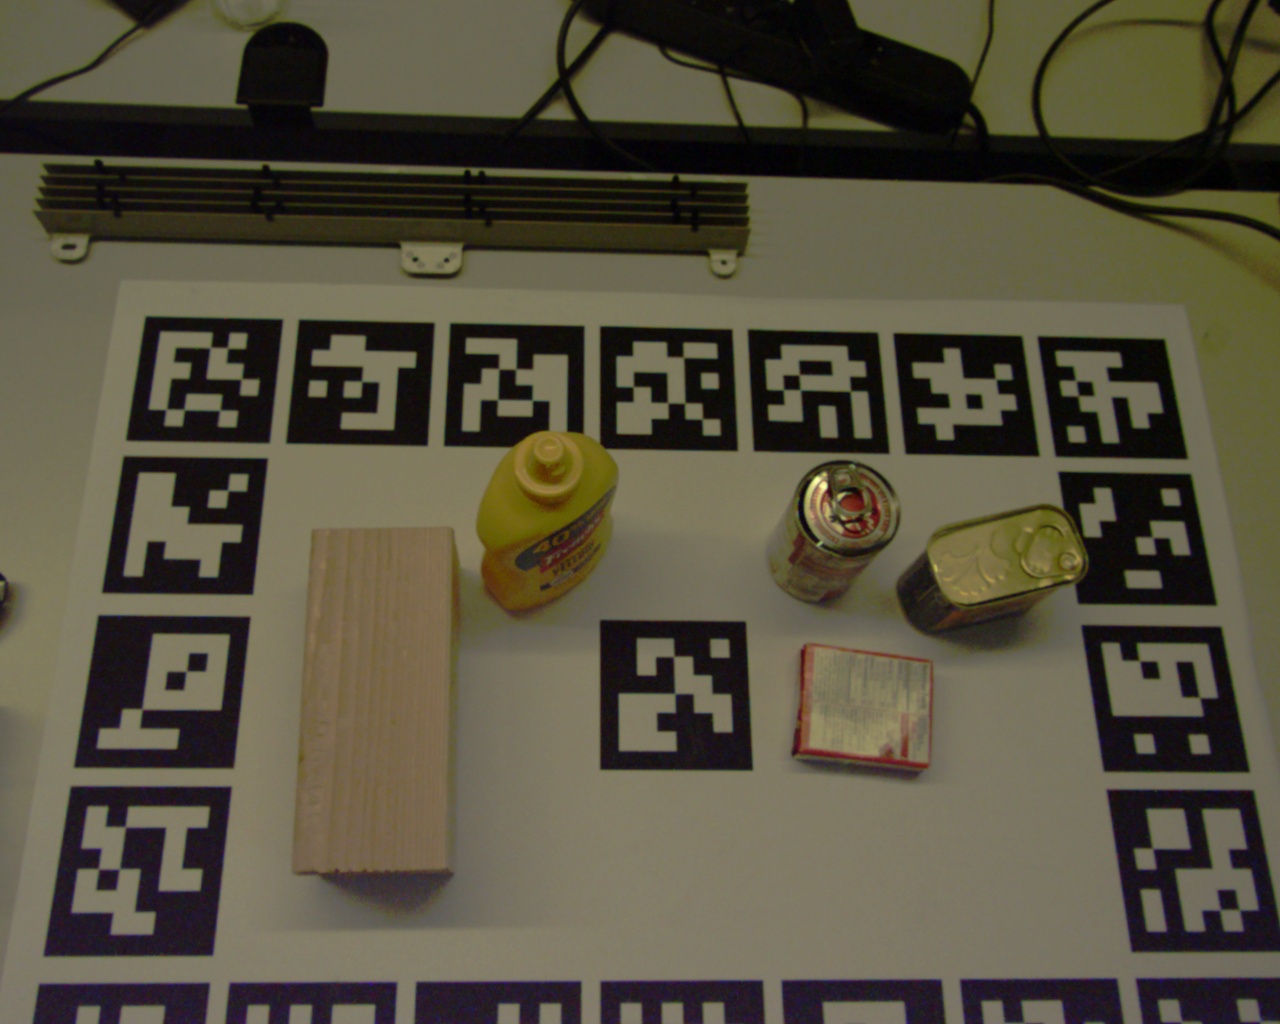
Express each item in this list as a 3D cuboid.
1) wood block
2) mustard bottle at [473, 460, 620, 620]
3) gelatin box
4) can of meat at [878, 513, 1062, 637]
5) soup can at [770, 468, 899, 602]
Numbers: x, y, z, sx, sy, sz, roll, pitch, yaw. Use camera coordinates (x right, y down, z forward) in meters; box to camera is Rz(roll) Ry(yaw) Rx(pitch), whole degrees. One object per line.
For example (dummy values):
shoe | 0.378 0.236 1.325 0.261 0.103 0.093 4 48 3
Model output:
wood block | -0.160 0.127 0.744 0.091 0.090 0.207 2 66 -5
mustard bottle | -0.061 0.013 0.742 0.096 0.191 0.059 -24 73 -14
gelatin box | 0.150 0.143 0.783 0.089 0.030 0.073 9 72 3
can of meat | 0.227 0.047 0.798 0.101 0.084 0.058 -12 72 -11
soup can | 0.131 0.019 0.784 0.068 0.102 0.068 1 72 -3
